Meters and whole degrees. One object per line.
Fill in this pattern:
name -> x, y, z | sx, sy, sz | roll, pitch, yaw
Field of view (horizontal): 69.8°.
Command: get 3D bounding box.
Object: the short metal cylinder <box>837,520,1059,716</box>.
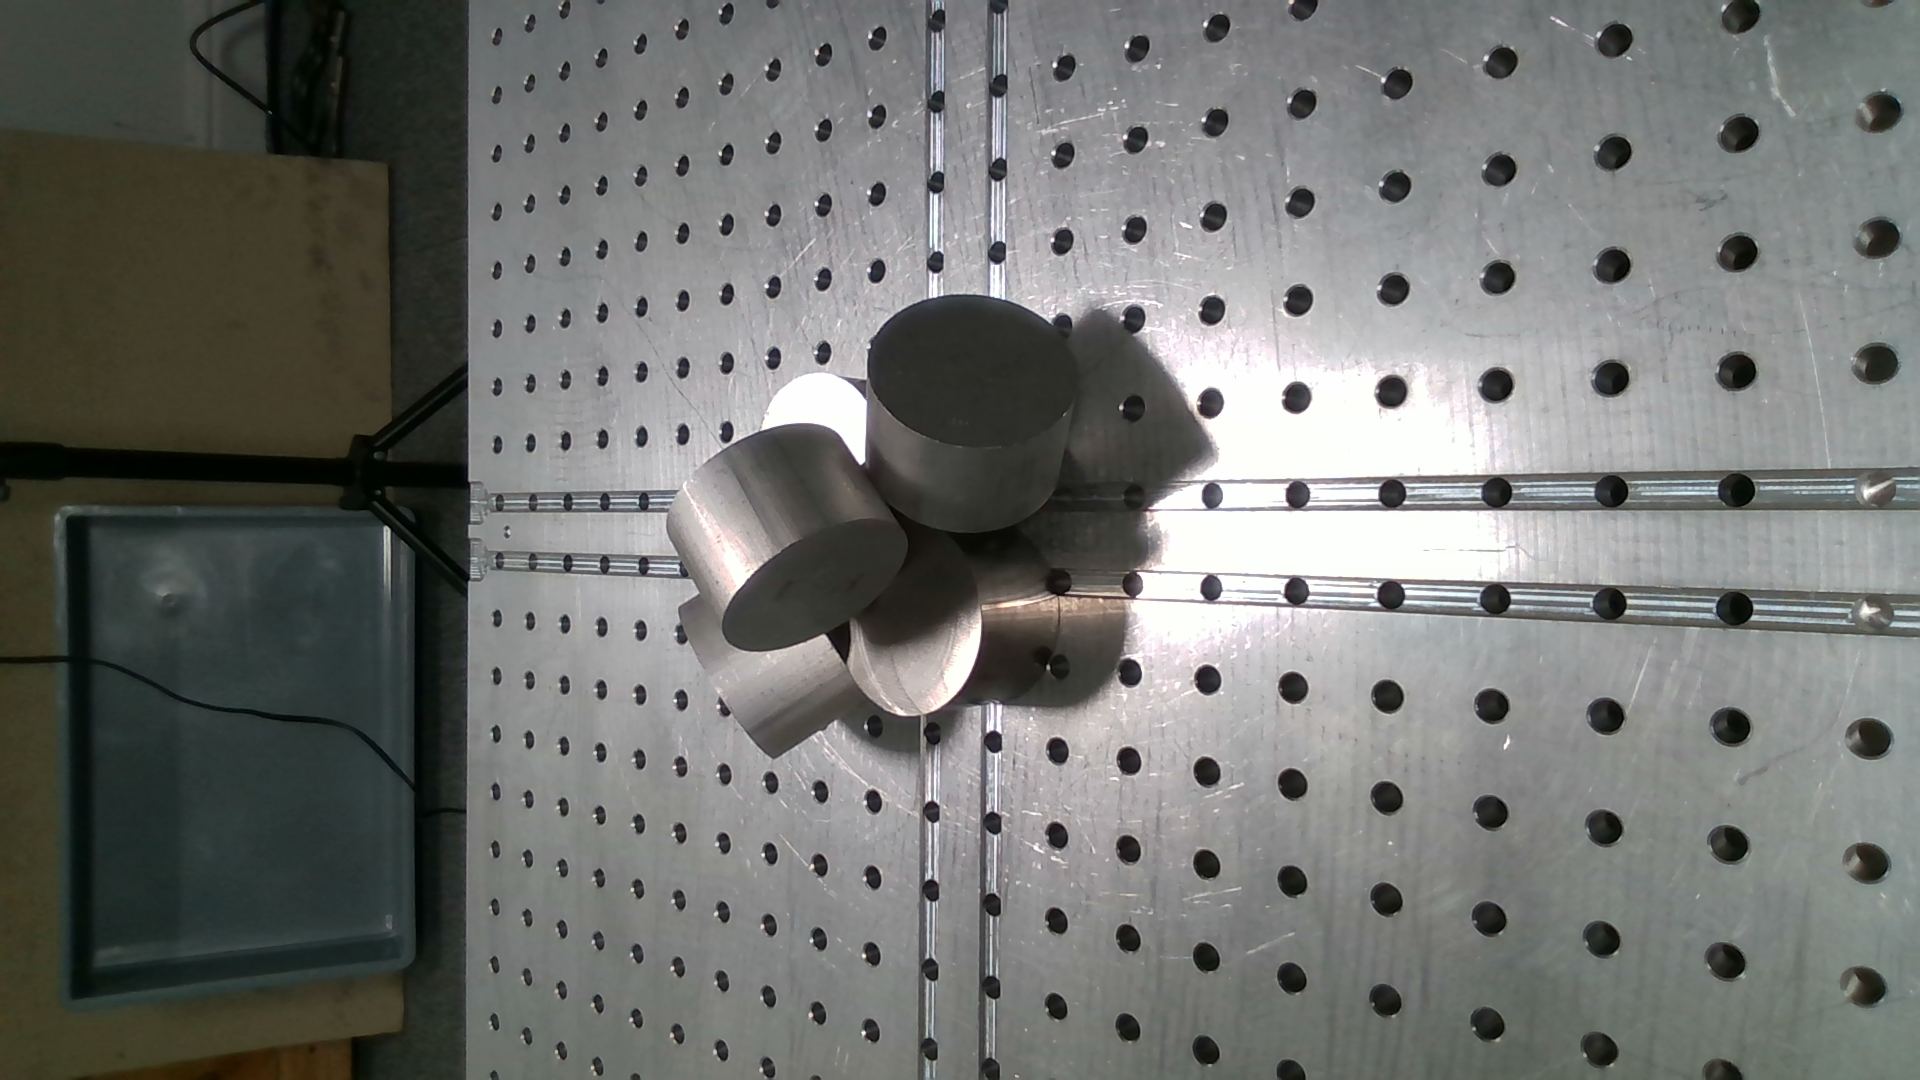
short metal cylinder -> -0.006, 0.031, 0.573 | 0.080, 0.050, 0.080 | 0, 91, 40

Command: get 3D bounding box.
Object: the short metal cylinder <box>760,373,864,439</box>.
short metal cylinder -> -0.046, -0.031, 0.607 | 0.080, 0.050, 0.080 | 0, 91, 40

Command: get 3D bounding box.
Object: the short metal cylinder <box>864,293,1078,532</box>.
short metal cylinder -> 0.003, -0.050, 0.537 | 0.080, 0.080, 0.050 | 51, 154, 28

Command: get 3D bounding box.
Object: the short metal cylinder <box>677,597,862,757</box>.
short metal cylinder -> -0.082, 0.049, 0.609 | 0.050, 0.080, 0.080 | -32, 65, -2

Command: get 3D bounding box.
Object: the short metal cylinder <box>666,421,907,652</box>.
short metal cylinder -> -0.068, -0.001, 0.539 | 0.080, 0.080, 0.050 | -49, 61, 29
